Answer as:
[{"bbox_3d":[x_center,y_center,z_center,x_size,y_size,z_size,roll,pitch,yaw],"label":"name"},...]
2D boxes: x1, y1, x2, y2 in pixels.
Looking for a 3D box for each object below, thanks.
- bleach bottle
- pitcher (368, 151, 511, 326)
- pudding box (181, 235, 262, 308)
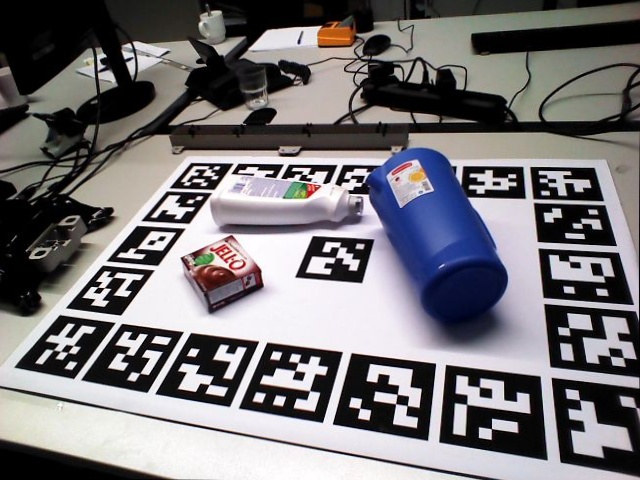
[{"bbox_3d":[-0.049,-0.068,0.873,0.252,0.068,0.102,2,44,13],"label":"bleach bottle"},{"bbox_3d":[0.172,-0.002,0.708,0.188,0.134,0.241,15,36,-24],"label":"pitcher"},{"bbox_3d":[-0.149,0.043,0.768,0.089,0.039,0.114,-21,40,-22],"label":"pudding box"}]
